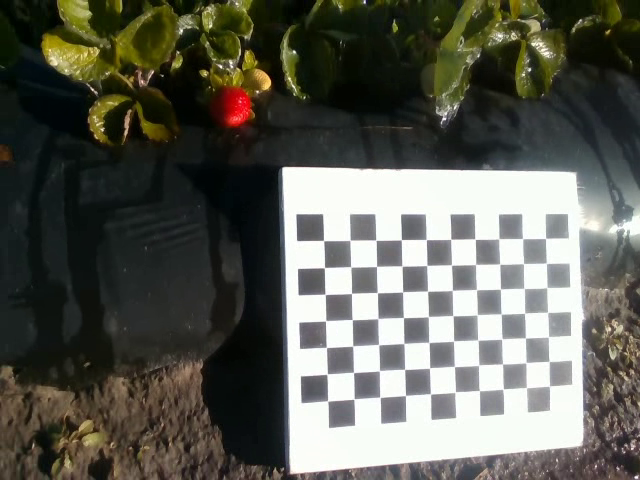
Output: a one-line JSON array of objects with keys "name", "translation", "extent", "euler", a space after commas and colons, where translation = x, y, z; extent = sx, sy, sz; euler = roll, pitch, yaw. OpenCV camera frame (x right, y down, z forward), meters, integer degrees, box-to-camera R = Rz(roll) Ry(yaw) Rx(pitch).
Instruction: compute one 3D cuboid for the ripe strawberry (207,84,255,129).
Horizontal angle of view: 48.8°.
[{"name": "ripe strawberry", "translation": [-0.061, -0.090, 0.484], "extent": [0.039, 0.040, 0.039], "euler": [-11, 23, -5]}]
